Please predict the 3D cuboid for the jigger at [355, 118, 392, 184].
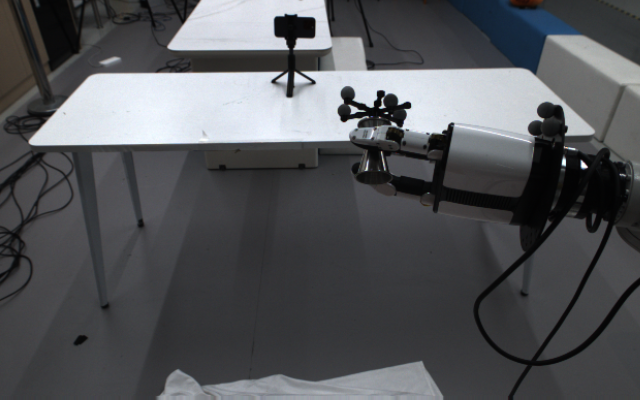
[{"bbox_3d":[0.062,-0.058,0.561,0.043,0.043,0.071,3,72,1],"label":"jigger"}]
